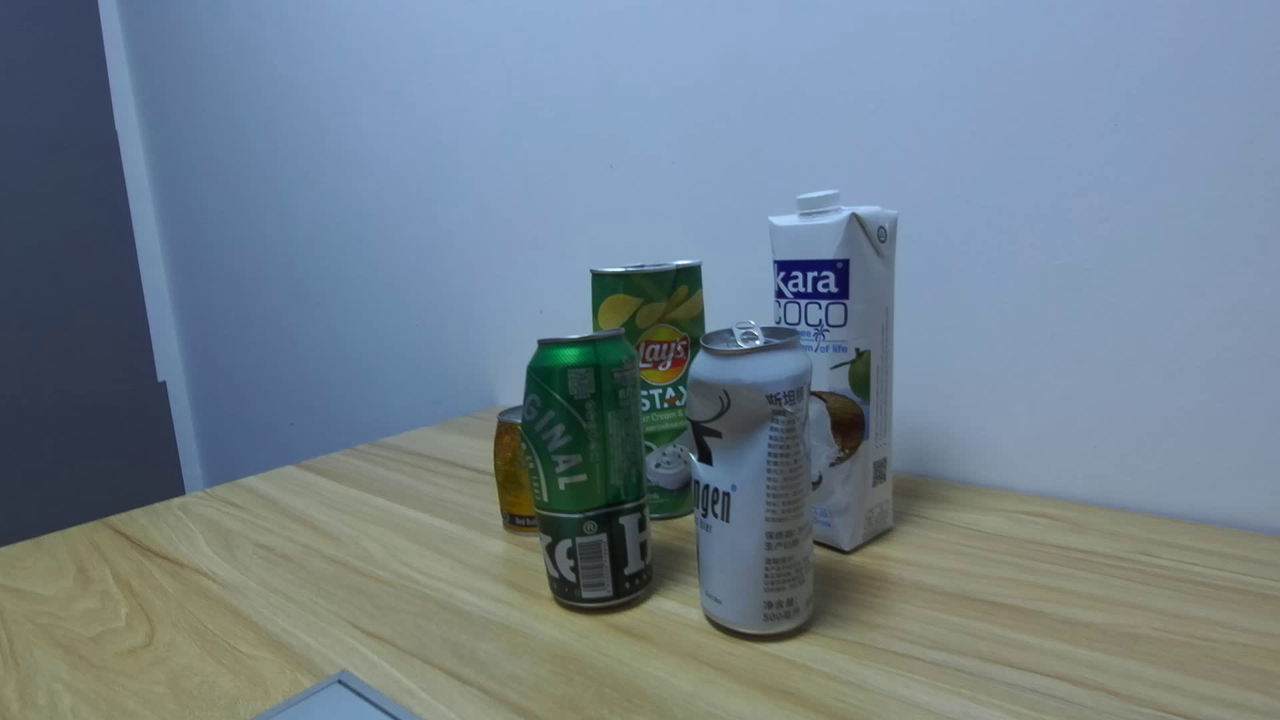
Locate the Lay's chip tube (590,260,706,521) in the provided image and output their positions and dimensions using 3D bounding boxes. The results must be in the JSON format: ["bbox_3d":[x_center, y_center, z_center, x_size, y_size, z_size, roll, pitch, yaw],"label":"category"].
[{"bbox_3d":[0.011,0.023,0.574,0.068,0.199,0.075,5,16,30],"label":"Lay's chip tube"}]

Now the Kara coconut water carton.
[{"bbox_3d":[0.136,0.006,0.502,0.076,0.245,0.076,-11,12,-42],"label":"Kara coconut water carton"}]

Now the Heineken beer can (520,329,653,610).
[{"bbox_3d":[-0.030,0.068,0.442,0.068,0.168,0.069,-3,6,13],"label":"Heineken beer can"}]

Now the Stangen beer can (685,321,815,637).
[{"bbox_3d":[0.063,0.066,0.396,0.069,0.173,0.070,-3,11,4],"label":"Stangen beer can"}]
